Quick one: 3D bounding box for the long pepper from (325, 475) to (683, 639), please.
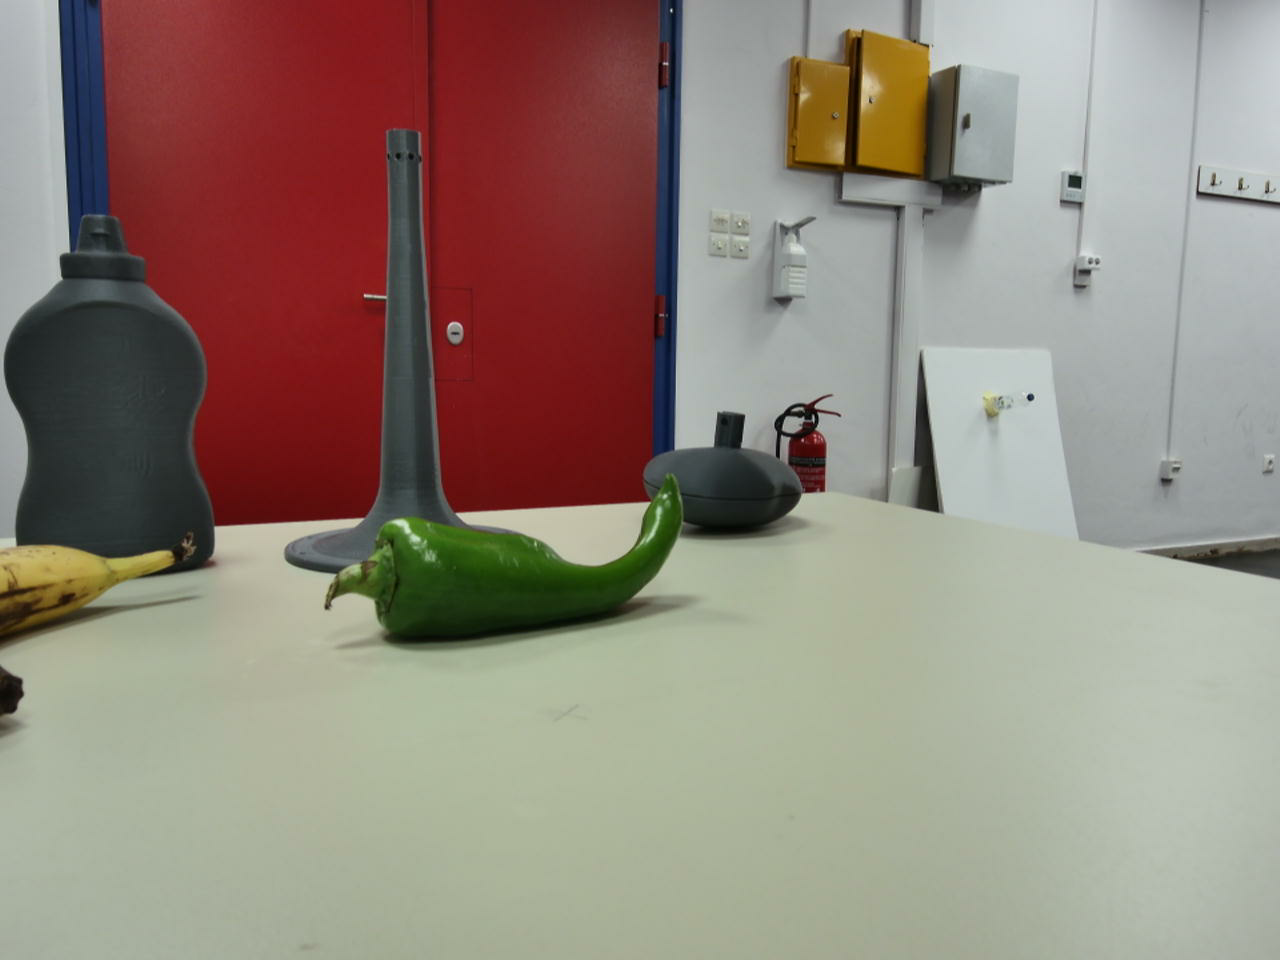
[{"bbox_3d":[-0.052,0.033,0.449,0.175,0.065,0.058,-3,5,-28],"label":"long pepper"}]
